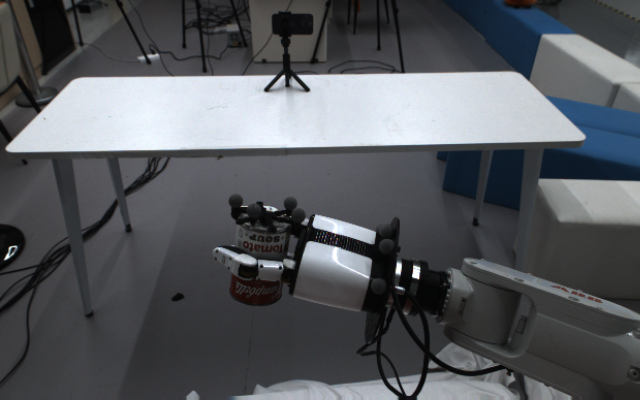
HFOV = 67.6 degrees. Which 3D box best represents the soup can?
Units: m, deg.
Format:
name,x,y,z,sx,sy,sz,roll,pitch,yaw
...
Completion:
name,x,y,z,sx,sy,sz,roll,pitch,yaw
soup can,-0.073,0.072,0.604,0.067,0.101,0.067,8,19,-3
